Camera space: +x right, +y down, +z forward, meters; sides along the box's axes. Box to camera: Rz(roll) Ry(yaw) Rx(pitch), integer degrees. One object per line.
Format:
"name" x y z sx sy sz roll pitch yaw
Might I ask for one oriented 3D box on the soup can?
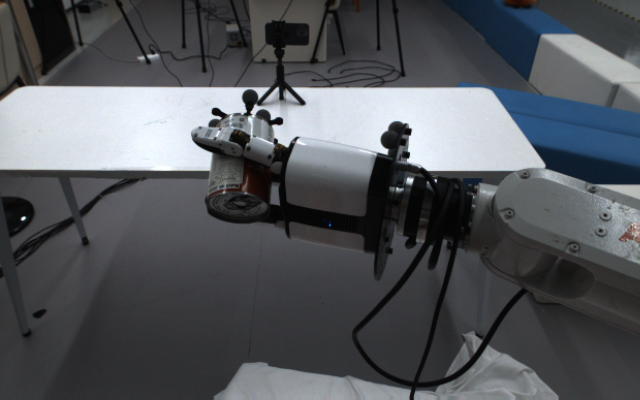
"soup can" -0.082 -0.035 0.524 0.067 0.067 0.101 0 61 -3
